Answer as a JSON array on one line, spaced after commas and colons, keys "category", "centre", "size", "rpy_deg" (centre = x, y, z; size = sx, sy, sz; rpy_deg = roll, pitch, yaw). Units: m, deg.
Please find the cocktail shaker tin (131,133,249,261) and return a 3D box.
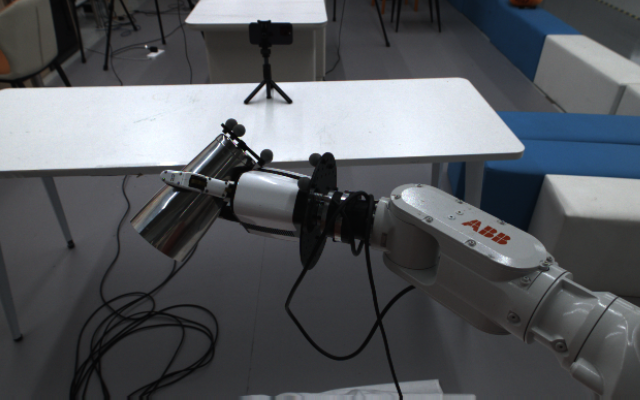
[{"category": "cocktail shaker tin", "centre": [-0.169, -0.011, 0.677], "size": [0.170, 0.093, 0.093], "rpy_deg": [-48, 49, -3]}]
